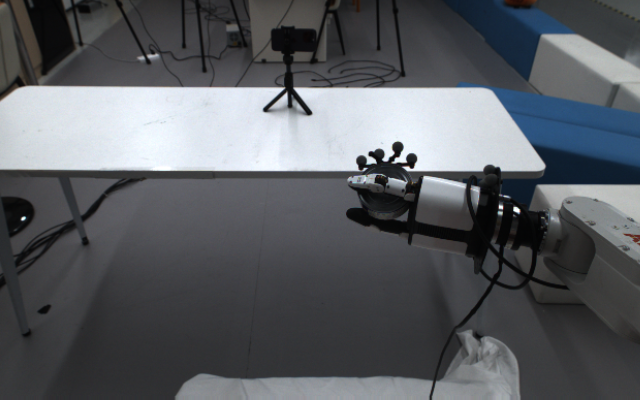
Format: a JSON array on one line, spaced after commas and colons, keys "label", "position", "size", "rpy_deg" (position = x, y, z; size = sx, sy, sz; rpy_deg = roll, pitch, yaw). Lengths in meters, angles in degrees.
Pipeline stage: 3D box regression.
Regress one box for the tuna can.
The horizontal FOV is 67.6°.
[{"label": "tuna can", "position": [0.100, -0.014, 0.748], "size": [0.085, 0.034, 0.085], "rpy_deg": [-6, 61, 10]}]
